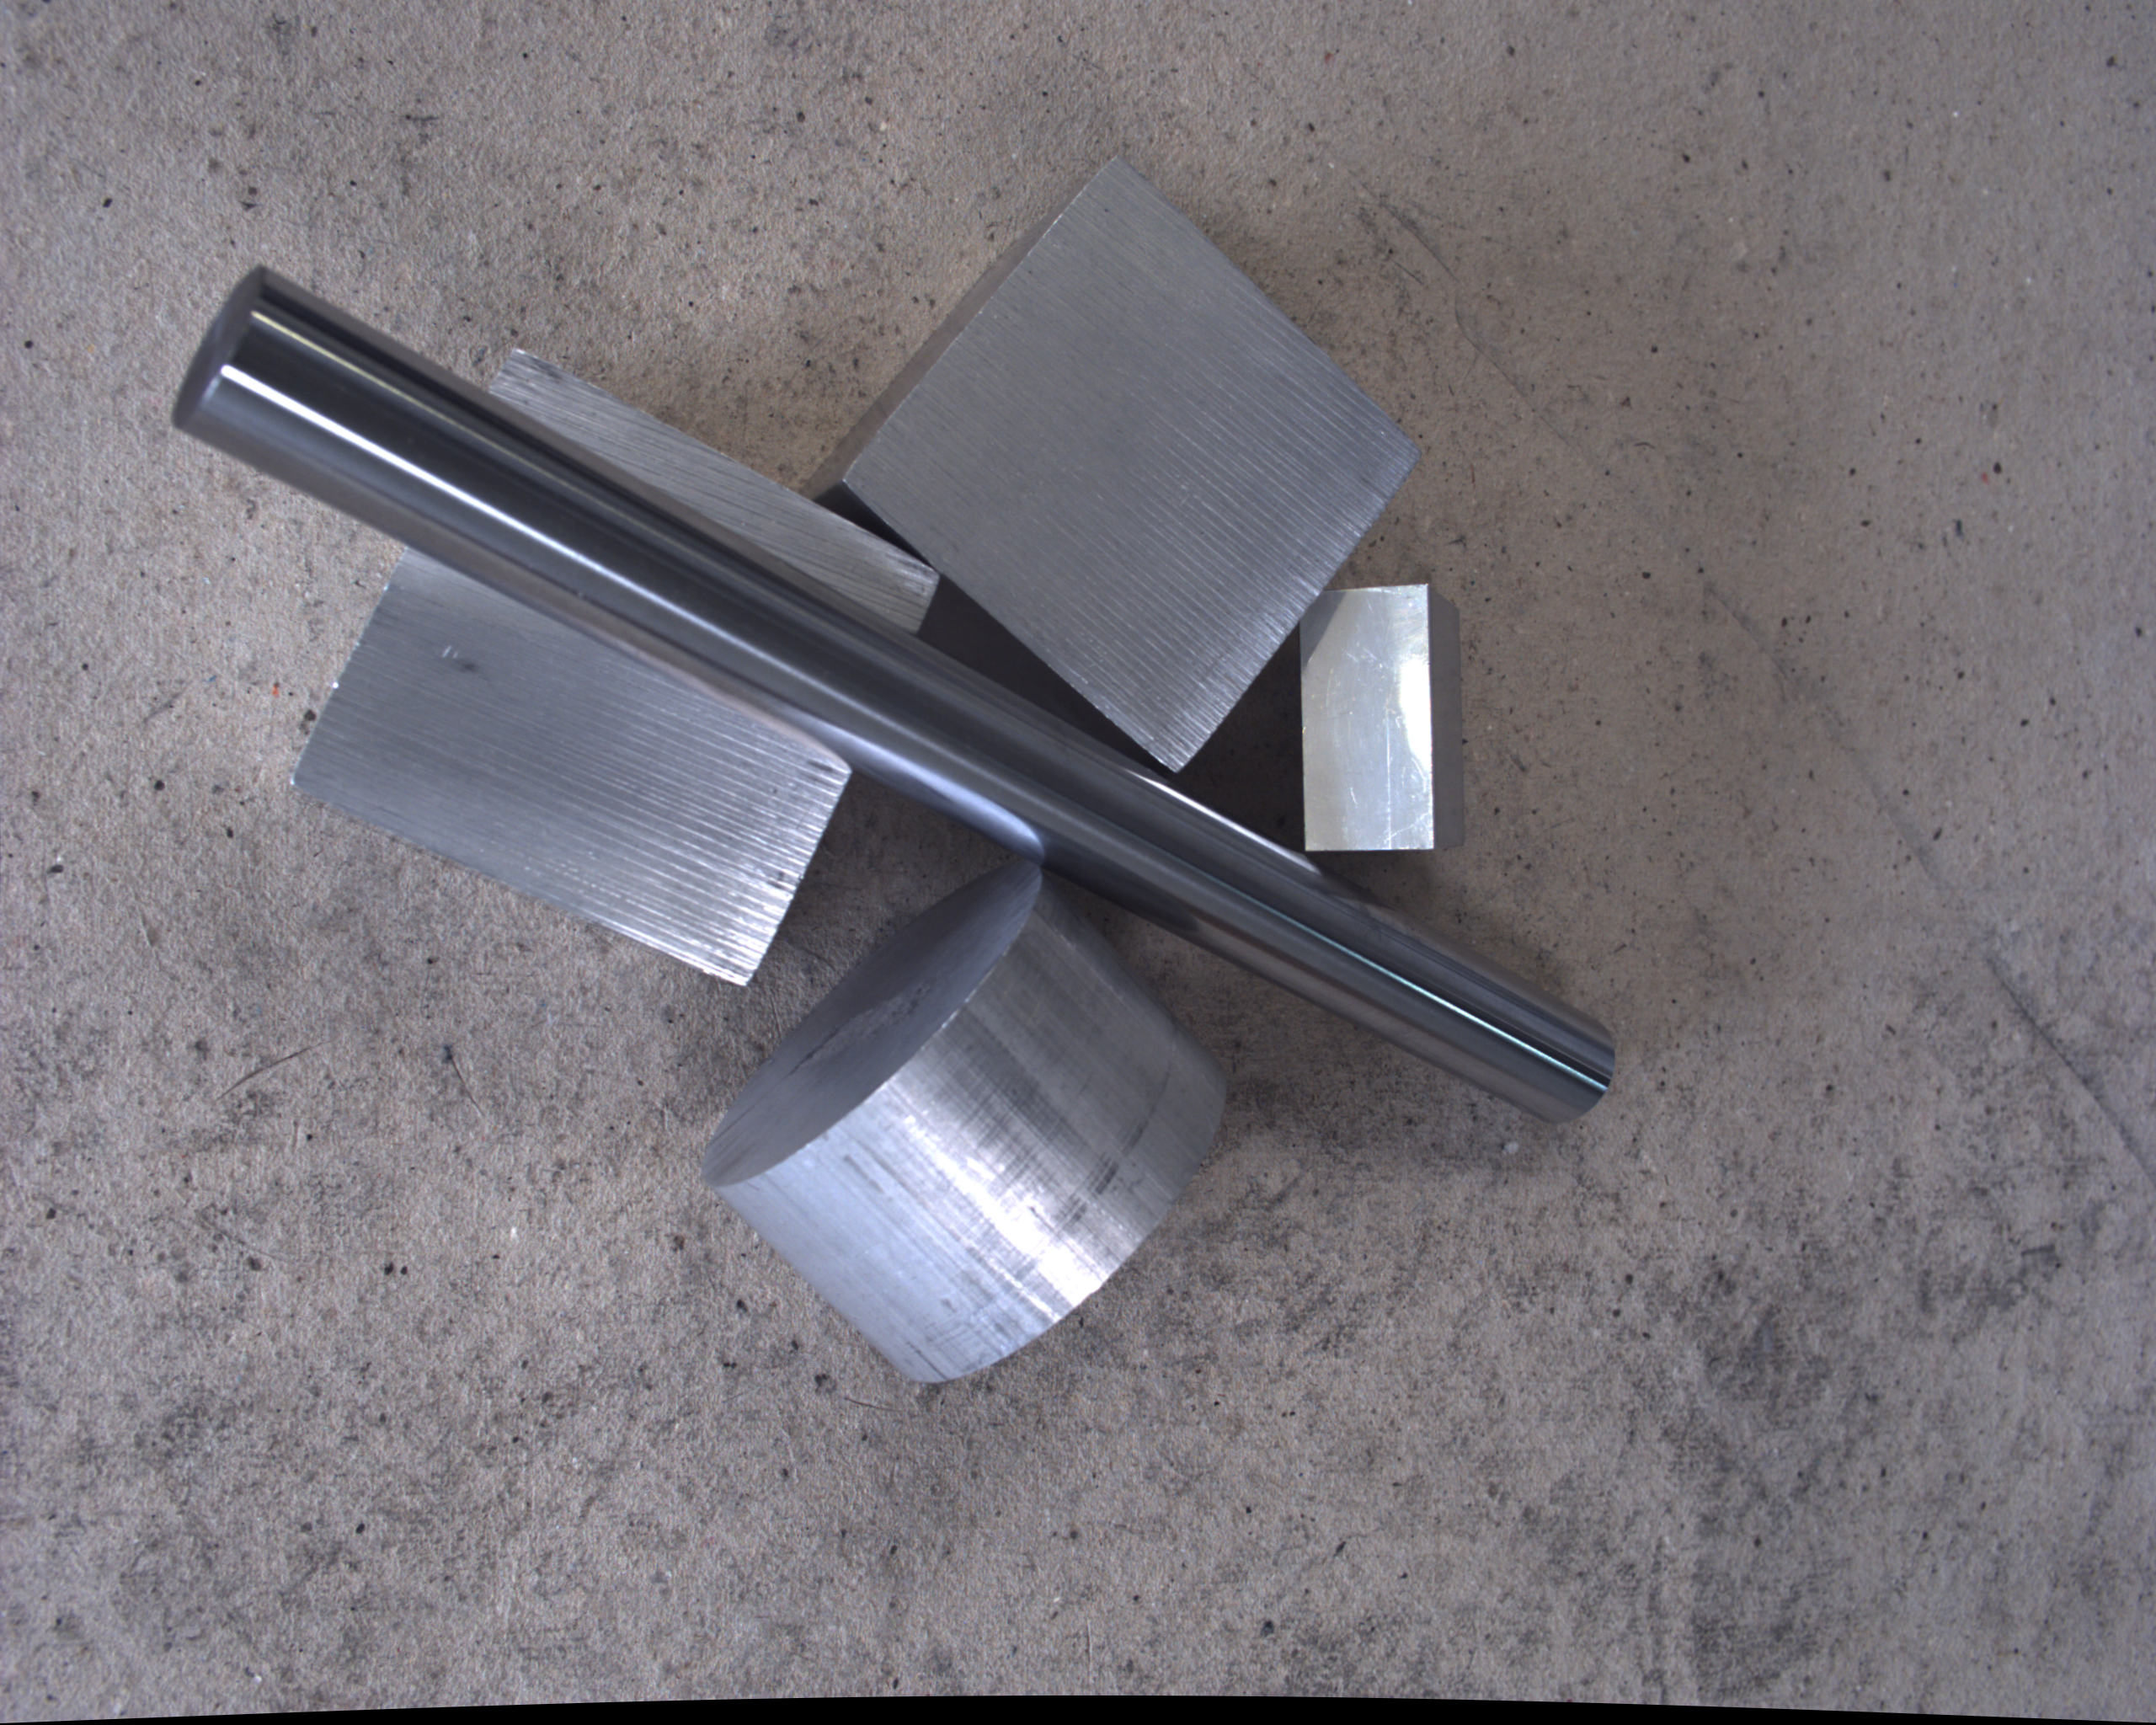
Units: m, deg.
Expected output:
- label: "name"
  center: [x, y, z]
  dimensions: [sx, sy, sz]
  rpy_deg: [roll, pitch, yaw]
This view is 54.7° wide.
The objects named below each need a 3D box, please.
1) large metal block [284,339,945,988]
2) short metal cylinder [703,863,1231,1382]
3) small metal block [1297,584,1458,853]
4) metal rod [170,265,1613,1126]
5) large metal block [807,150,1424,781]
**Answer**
- label: "large metal block"
  center: [-0.082, -0.032, 0.367]
  dimensions: [0.080, 0.050, 0.080]
  rpy_deg: [26, 81, -18]
- label: "short metal cylinder"
  center: [-0.020, 0.045, 0.373]
  dimensions: [0.080, 0.080, 0.050]
  rpy_deg: [-46, 105, -14]
- label: "small metal block"
  center: [0.061, -0.028, 0.417]
  dimensions: [0.025, 0.050, 0.050]
  rpy_deg: [-1, 91, 16]
- label: "metal rod"
  center: [-0.005, -0.012, 0.365]
  dimensions: [0.301, 0.025, 0.025]
  rpy_deg: [27, 81, -35]
- label: "large metal block"
  center: [0.003, -0.071, 0.396]
  dimensions: [0.080, 0.050, 0.080]
  rpy_deg: [41, 77, -16]
